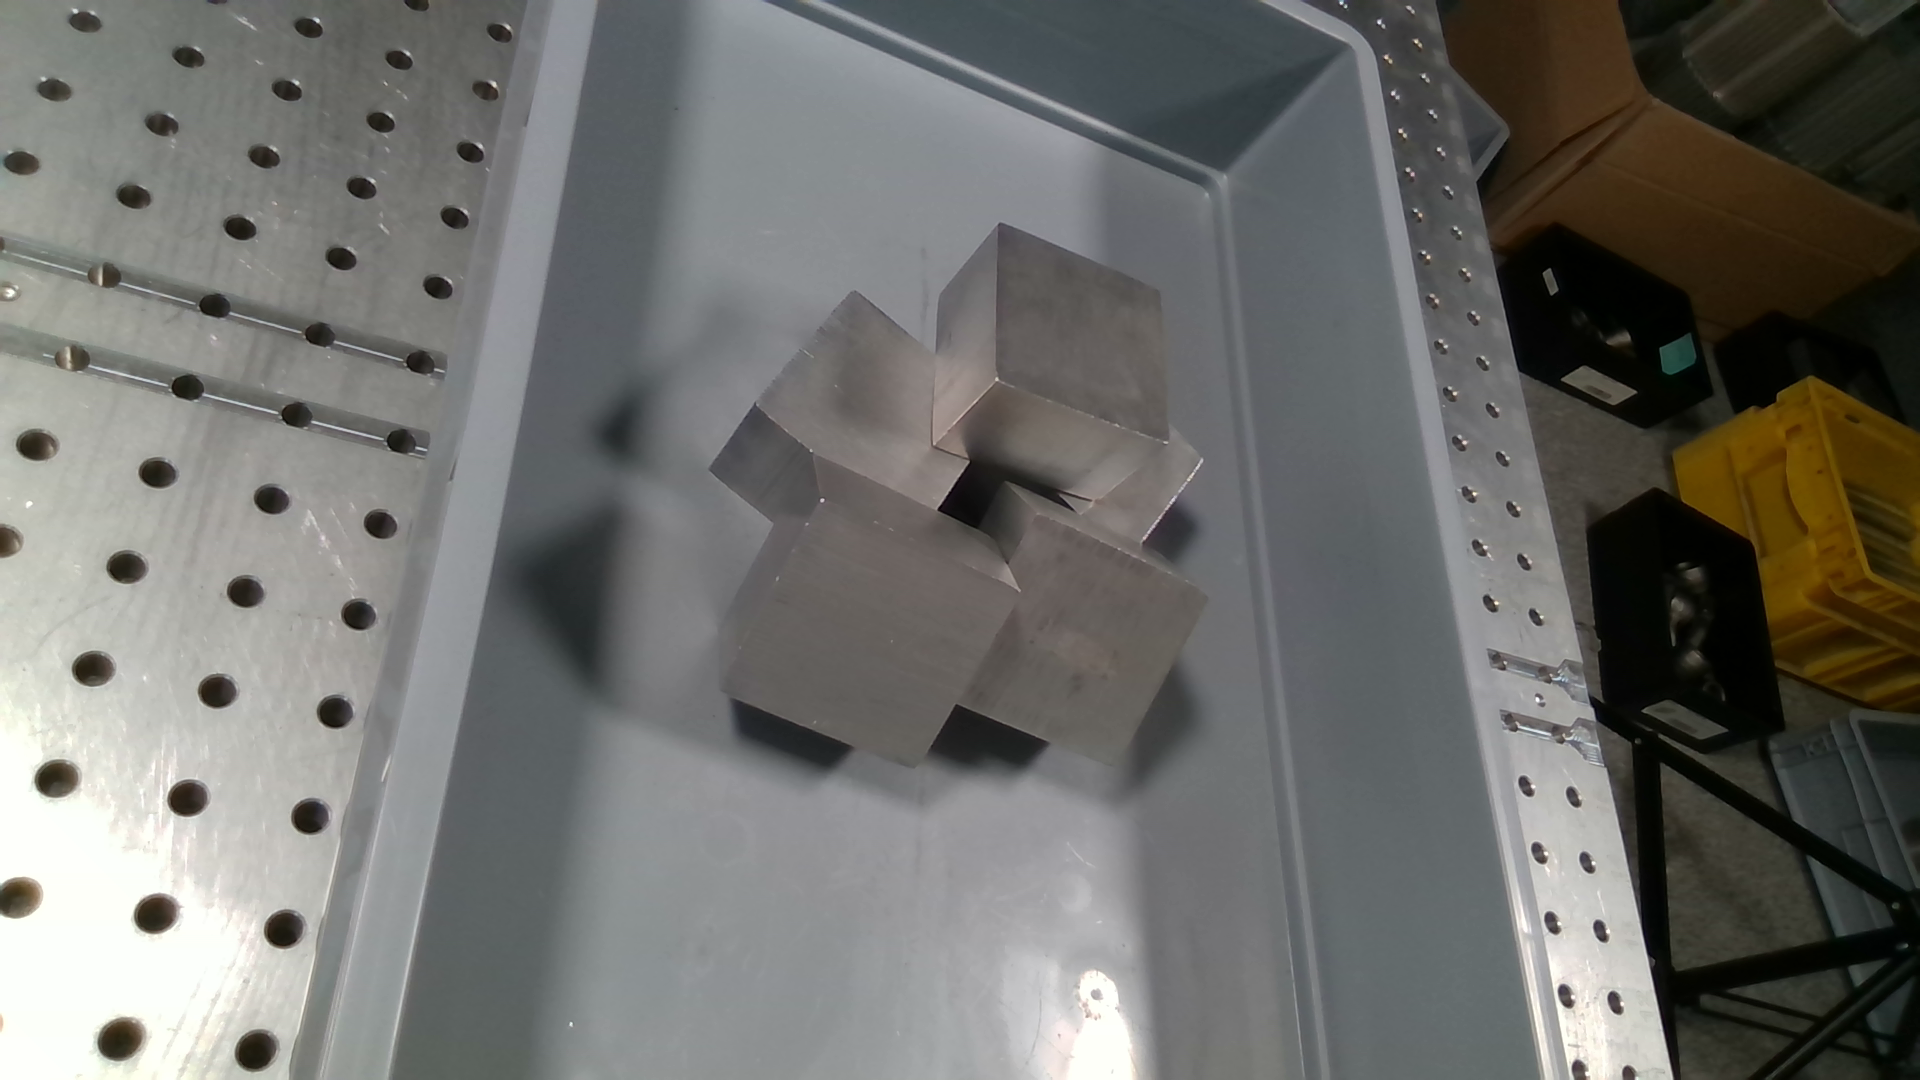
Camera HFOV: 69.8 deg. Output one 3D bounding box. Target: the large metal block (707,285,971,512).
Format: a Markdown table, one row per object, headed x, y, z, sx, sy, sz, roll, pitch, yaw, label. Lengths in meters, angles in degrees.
| x | y | z | sx | sy | sz | roll | pitch | yaw | label |
| --- | --- | --- | --- | --- | --- | --- | --- | --- | --- |
| -0.042 | -0.042 | 0.562 | 0.080 | 0.050 | 0.080 | 40 | 51 | -7 | large metal block |

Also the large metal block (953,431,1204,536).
| x | y | z | sx | sy | sz | roll | pitch | yaw | label |
| --- | --- | --- | --- | --- | --- | --- | --- | --- | --- |
| 0.050 | -0.032 | 0.617 | 0.080 | 0.050 | 0.080 | 44 | 51 | -4 | large metal block |

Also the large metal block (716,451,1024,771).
| x | y | z | sx | sy | sz | roll | pitch | yaw | label |
| --- | --- | --- | --- | --- | --- | --- | --- | --- | --- |
| -0.035 | 0.026 | 0.505 | 0.080 | 0.080 | 0.050 | 25 | 15 | -18 | large metal block |

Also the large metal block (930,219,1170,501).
| x | y | z | sx | sy | sz | roll | pitch | yaw | label |
| --- | --- | --- | --- | --- | --- | --- | --- | --- | --- |
| 0.036 | -0.072 | 0.563 | 0.080 | 0.050 | 0.080 | 17 | 56 | -25 | large metal block |

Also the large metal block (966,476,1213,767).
| x | y | z | sx | sy | sz | roll | pitch | yaw | label |
| --- | --- | --- | --- | --- | --- | --- | --- | --- | --- |
| 0.039 | 0.032 | 0.548 | 0.080 | 0.050 | 0.080 | 24 | 100 | -19 | large metal block |
